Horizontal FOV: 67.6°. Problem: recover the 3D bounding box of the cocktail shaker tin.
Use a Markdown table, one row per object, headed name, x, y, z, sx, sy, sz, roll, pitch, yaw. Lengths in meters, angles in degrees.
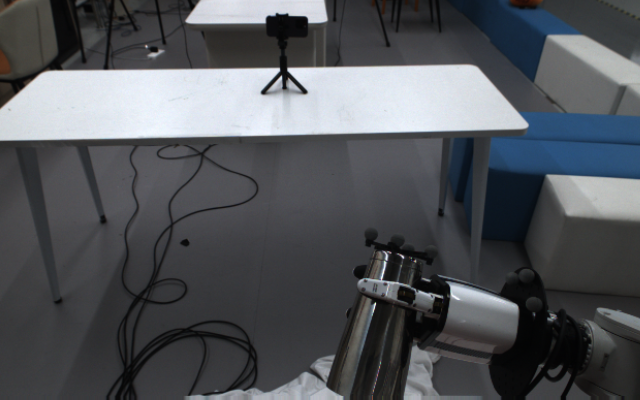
| name | x | y | z | sx | sy | sz | roll | pitch | yaw |
| --- | --- | --- | --- | --- | --- | --- | --- | --- | --- |
| cocktail shaker tin | 0.077 | 0.150 | 0.591 | 0.093 | 0.093 | 0.170 | 13 | 80 | 16 |
